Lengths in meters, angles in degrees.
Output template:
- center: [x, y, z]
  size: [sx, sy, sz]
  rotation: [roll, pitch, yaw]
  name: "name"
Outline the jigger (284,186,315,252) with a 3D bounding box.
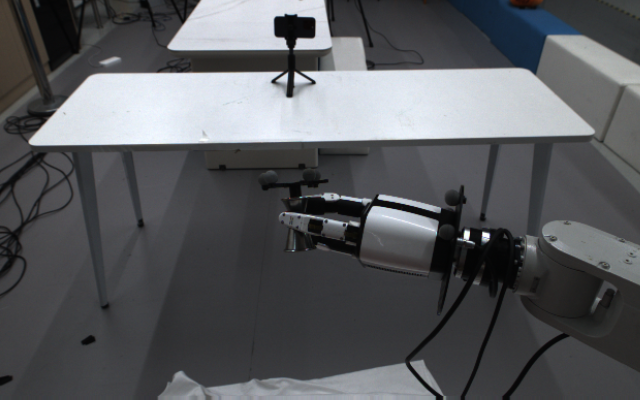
- center: [-0.029, 0.030, 0.625]
  size: [0.043, 0.071, 0.043]
  rotation: [-4, 1, 0]
  name: "jigger"
